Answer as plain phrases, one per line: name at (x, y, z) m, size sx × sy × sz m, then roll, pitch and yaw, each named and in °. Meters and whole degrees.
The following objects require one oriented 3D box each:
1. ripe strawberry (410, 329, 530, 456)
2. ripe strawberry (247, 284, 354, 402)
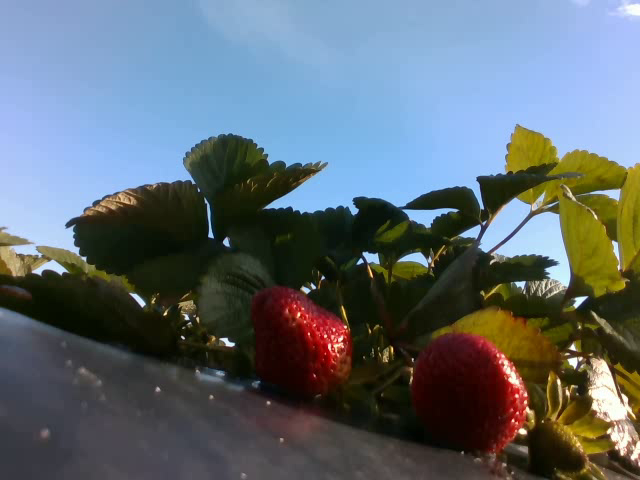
ripe strawberry at (0.051, 0.044, 0.195) m, size 0.043 × 0.039 × 0.053 m, roll 34°, pitch -26°, yaw 11°
ripe strawberry at (-0.007, 0.039, 0.233) m, size 0.039 × 0.054 × 0.048 m, roll -37°, pitch 20°, yaw 6°
